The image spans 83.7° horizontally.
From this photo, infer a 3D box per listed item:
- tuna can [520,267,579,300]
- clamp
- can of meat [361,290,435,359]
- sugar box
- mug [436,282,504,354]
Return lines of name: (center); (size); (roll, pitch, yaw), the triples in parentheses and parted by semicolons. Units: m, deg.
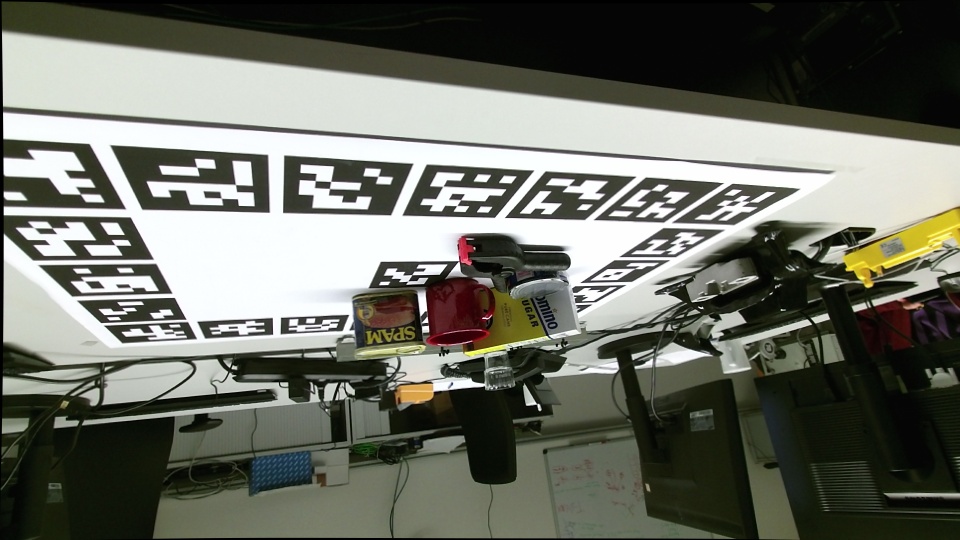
tuna can: (0.099, 0.010, 0.746); (0.086, 0.033, 0.086); (-9, 157, -4)
clamp: (0.043, -0.016, 0.673); (0.122, 0.036, 0.166); (-18, 153, 32)
can of meat: (-0.121, 0.079, 0.776); (0.102, 0.083, 0.058); (-3, 159, -12)
sugar box: (0.072, 0.066, 0.812); (0.177, 0.092, 0.045); (-14, 160, 15)
mug: (-0.010, 0.064, 0.765); (0.093, 0.081, 0.117); (13, 148, -43)
